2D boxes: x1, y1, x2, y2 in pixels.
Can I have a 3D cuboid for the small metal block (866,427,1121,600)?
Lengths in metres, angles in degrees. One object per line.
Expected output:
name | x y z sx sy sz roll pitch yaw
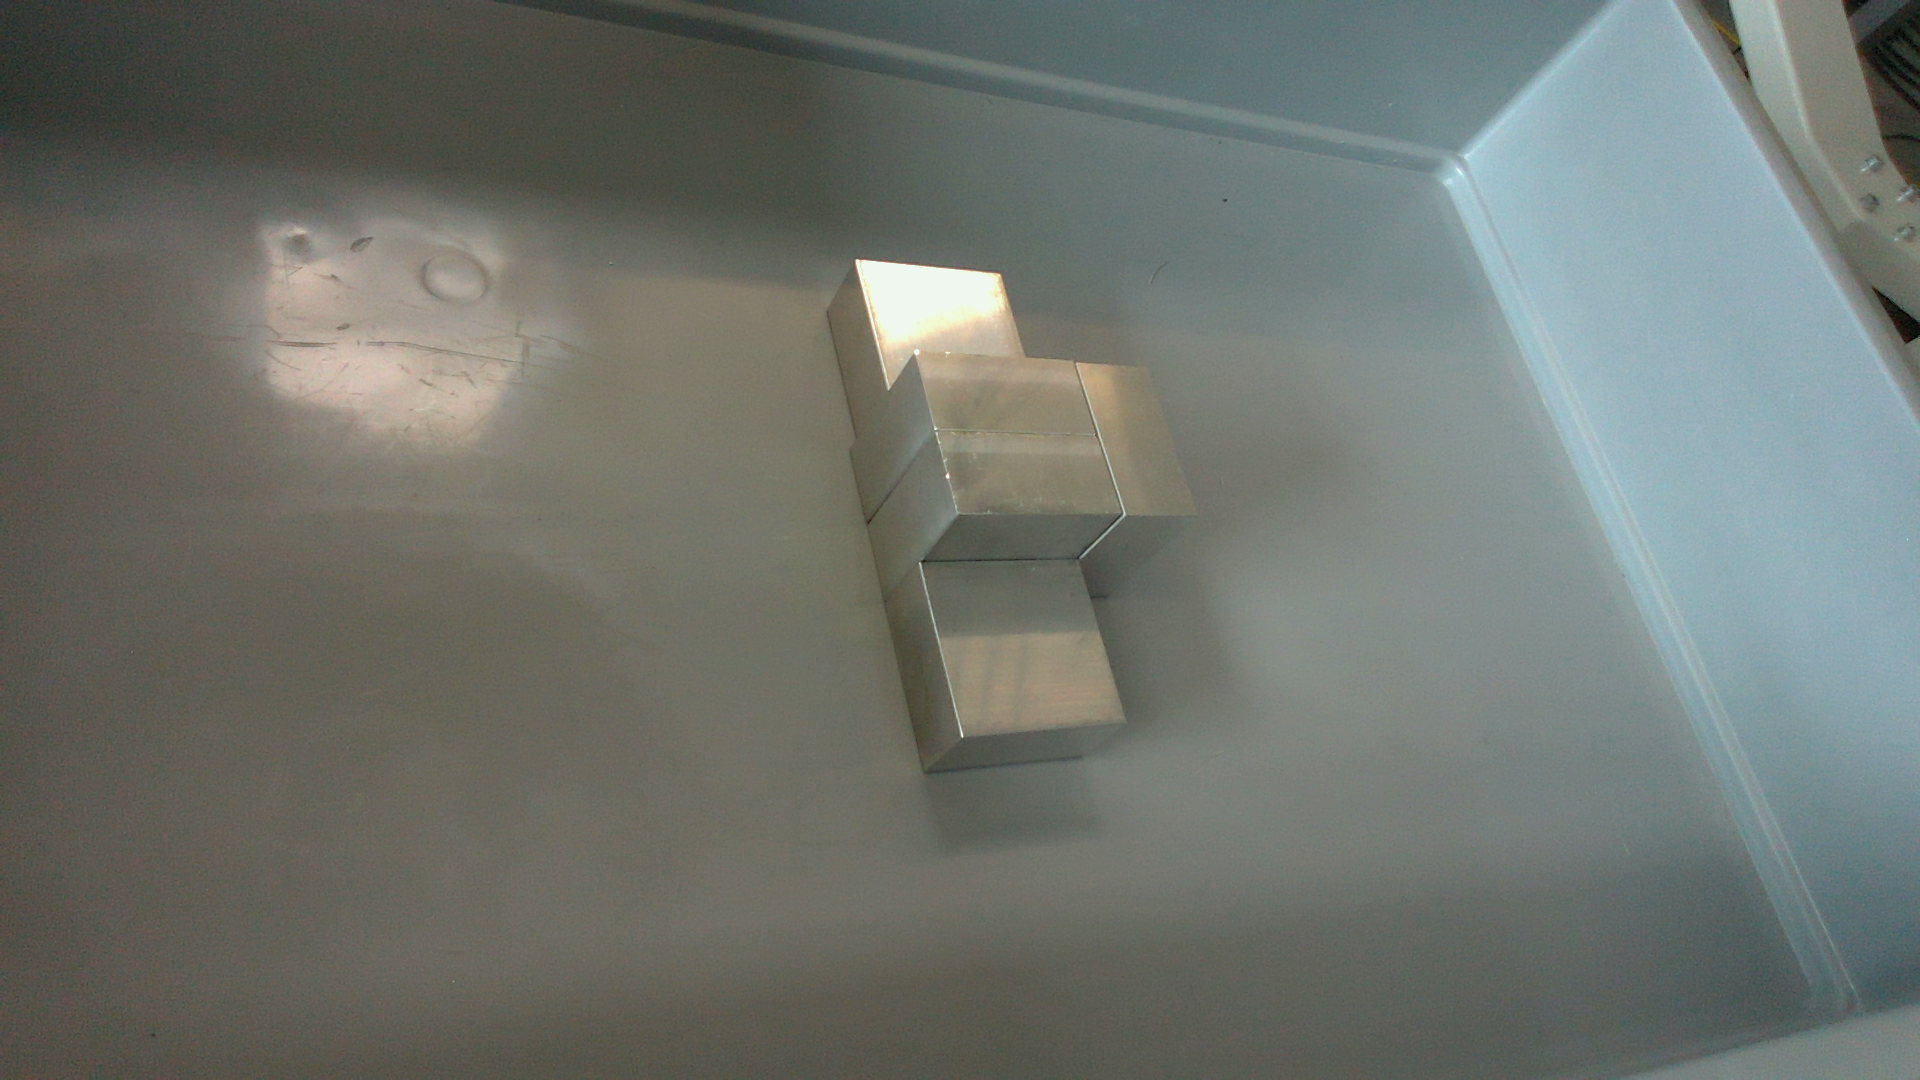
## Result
small metal block | 0.008 -0.006 0.380 0.050 0.050 0.025 0 62 -28

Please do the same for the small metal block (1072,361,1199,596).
small metal block | 0.039 -0.017 0.403 0.025 0.050 0.050 0 62 -28

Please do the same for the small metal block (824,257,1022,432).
small metal block | -0.009 -0.056 0.417 0.050 0.025 0.050 0 62 -28

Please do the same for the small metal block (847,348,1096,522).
small metal block | 0.002 -0.028 0.390 0.050 0.050 0.025 0 62 -28

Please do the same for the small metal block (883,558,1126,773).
small metal block | 0.011 0.033 0.374 0.050 0.025 0.050 0 62 -28
